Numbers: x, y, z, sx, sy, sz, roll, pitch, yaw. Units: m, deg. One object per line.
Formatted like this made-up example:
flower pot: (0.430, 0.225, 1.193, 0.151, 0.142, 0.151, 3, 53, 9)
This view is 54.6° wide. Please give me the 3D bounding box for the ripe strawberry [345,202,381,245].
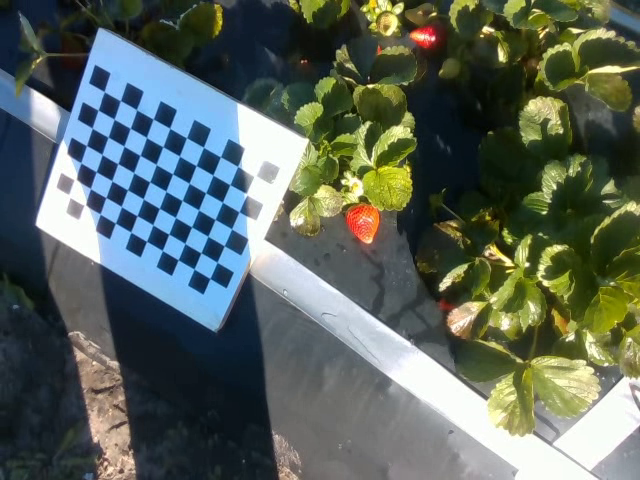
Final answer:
ripe strawberry: (0.053, -0.018, 0.765, 0.048, 0.055, 0.029, -17, 5, 20)
